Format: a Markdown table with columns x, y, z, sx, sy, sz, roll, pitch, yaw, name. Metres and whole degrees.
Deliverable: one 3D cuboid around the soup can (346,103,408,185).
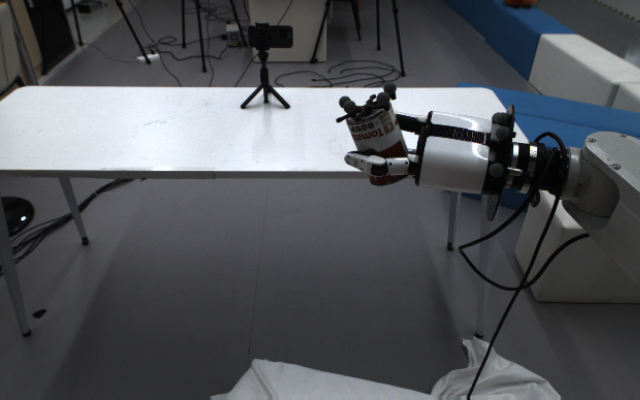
| x | y | z | sx | sy | sz | roll | pitch | yaw | name |
| --- | --- | --- | --- | --- | --- | --- | --- | --- | --- |
| 0.086 | -0.081 | 0.684 | 0.067 | 0.101 | 0.067 | -22 | 24 | 10 | soup can |
